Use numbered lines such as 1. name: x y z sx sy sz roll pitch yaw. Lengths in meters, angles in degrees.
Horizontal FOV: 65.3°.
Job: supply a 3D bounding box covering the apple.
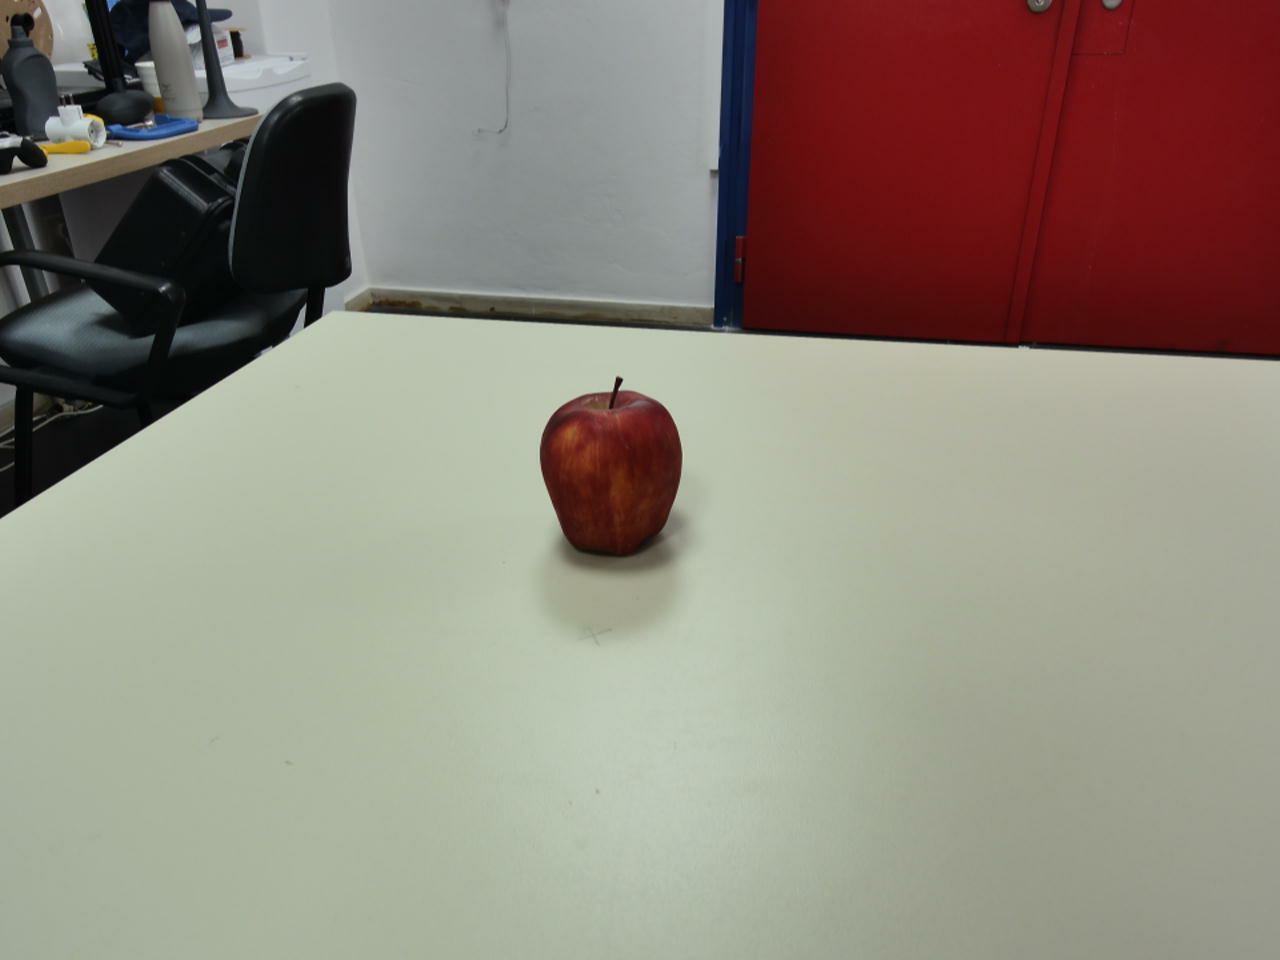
1. apple: -0.016 -0.011 0.534 0.083 0.090 0.083 -1 25 1
